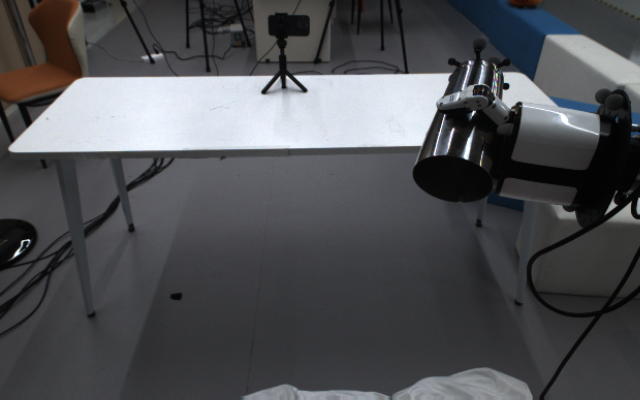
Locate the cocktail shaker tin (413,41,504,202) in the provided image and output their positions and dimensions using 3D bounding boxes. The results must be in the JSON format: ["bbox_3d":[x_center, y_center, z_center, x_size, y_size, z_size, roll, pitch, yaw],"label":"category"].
[{"bbox_3d":[0.180,-0.092,0.598,0.093,0.093,0.170,14,60,16],"label":"cocktail shaker tin"}]
